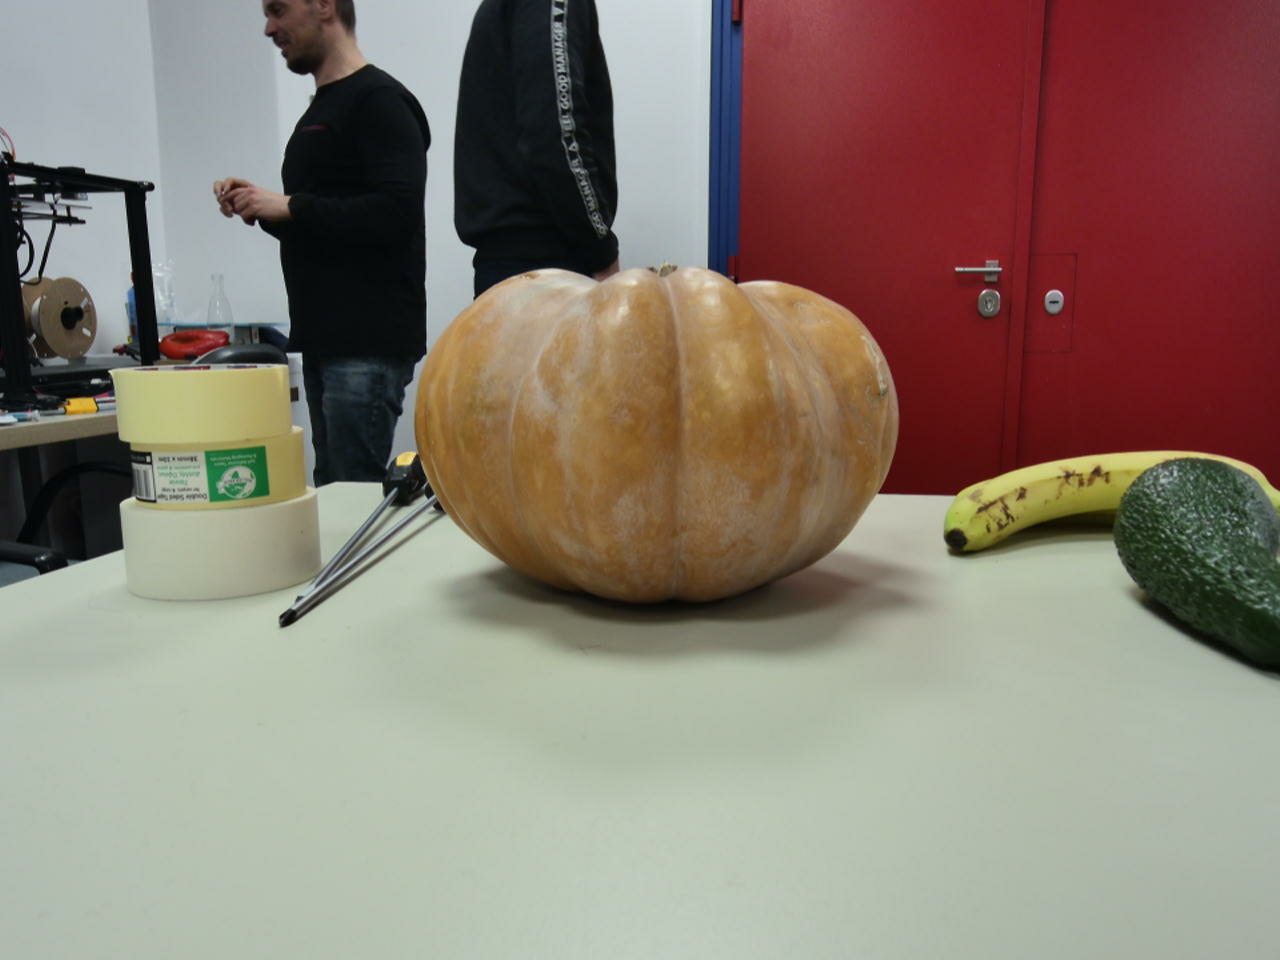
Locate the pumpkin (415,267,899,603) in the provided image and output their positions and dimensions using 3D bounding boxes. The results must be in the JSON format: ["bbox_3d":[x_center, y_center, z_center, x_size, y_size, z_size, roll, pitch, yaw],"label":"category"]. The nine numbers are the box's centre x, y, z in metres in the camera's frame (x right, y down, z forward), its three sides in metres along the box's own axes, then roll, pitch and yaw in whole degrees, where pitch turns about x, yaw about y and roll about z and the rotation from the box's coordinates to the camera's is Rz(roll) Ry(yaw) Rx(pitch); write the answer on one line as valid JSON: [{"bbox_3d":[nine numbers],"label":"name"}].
[{"bbox_3d":[0.008,-0.030,0.566,0.277,0.181,0.277,0,7,0],"label":"pumpkin"}]
